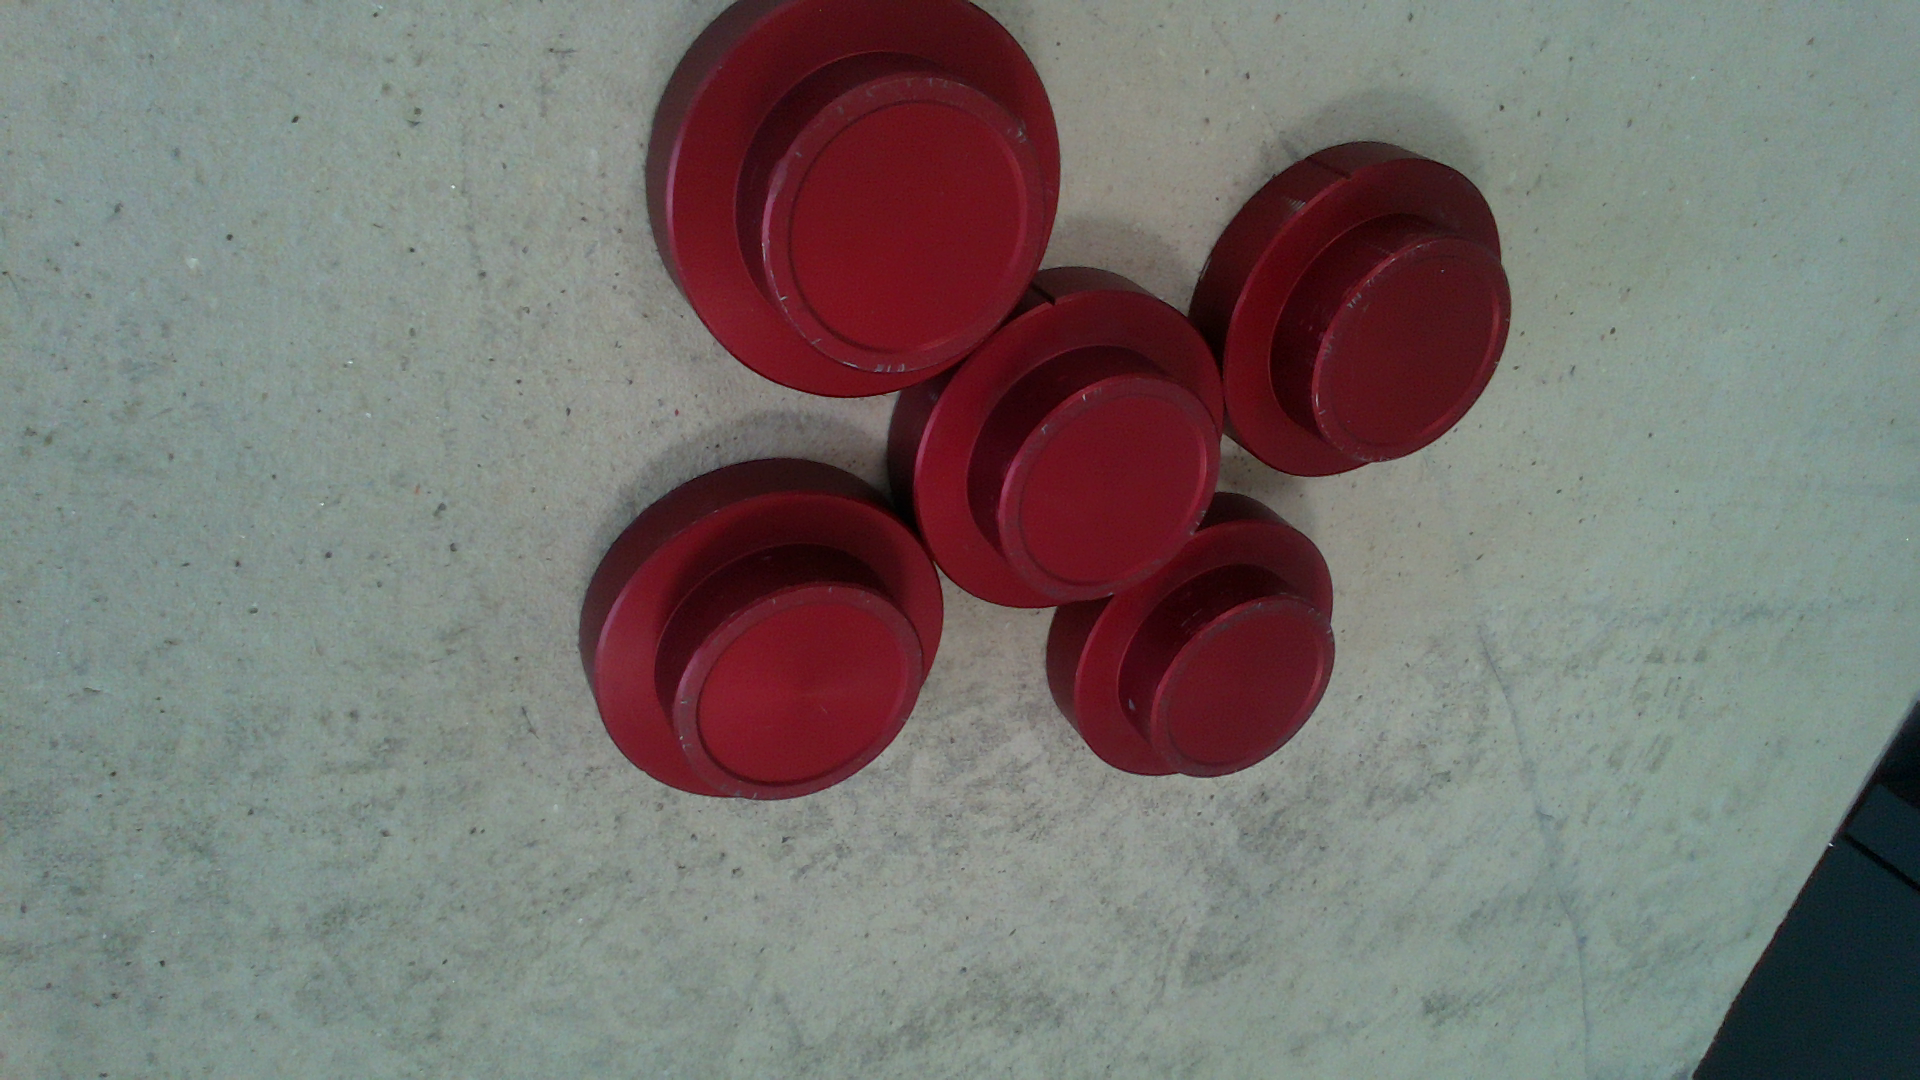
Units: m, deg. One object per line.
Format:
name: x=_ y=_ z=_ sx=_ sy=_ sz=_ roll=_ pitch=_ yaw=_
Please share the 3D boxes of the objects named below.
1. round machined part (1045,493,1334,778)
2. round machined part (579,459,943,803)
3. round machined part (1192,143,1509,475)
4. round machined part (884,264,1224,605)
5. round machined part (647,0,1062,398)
round machined part: x=0.080 y=0.037 z=0.445 sx=0.098 sy=0.042 sz=0.098 roll=-13 pitch=125 yaw=-19
round machined part: x=-0.049 y=0.031 z=0.370 sx=0.098 sy=0.042 sz=0.098 roll=-14 pitch=125 yaw=-21
round machined part: x=0.120 y=-0.062 z=0.404 sx=0.098 sy=0.042 sz=0.098 roll=-13 pitch=125 yaw=-19
round machined part: x=0.032 y=-0.023 z=0.382 sx=0.098 sy=0.042 sz=0.098 roll=-13 pitch=125 yaw=-19
round machined part: x=-0.019 y=-0.078 z=0.320 sx=0.098 sy=0.042 sz=0.098 roll=-14 pitch=124 yaw=-21
